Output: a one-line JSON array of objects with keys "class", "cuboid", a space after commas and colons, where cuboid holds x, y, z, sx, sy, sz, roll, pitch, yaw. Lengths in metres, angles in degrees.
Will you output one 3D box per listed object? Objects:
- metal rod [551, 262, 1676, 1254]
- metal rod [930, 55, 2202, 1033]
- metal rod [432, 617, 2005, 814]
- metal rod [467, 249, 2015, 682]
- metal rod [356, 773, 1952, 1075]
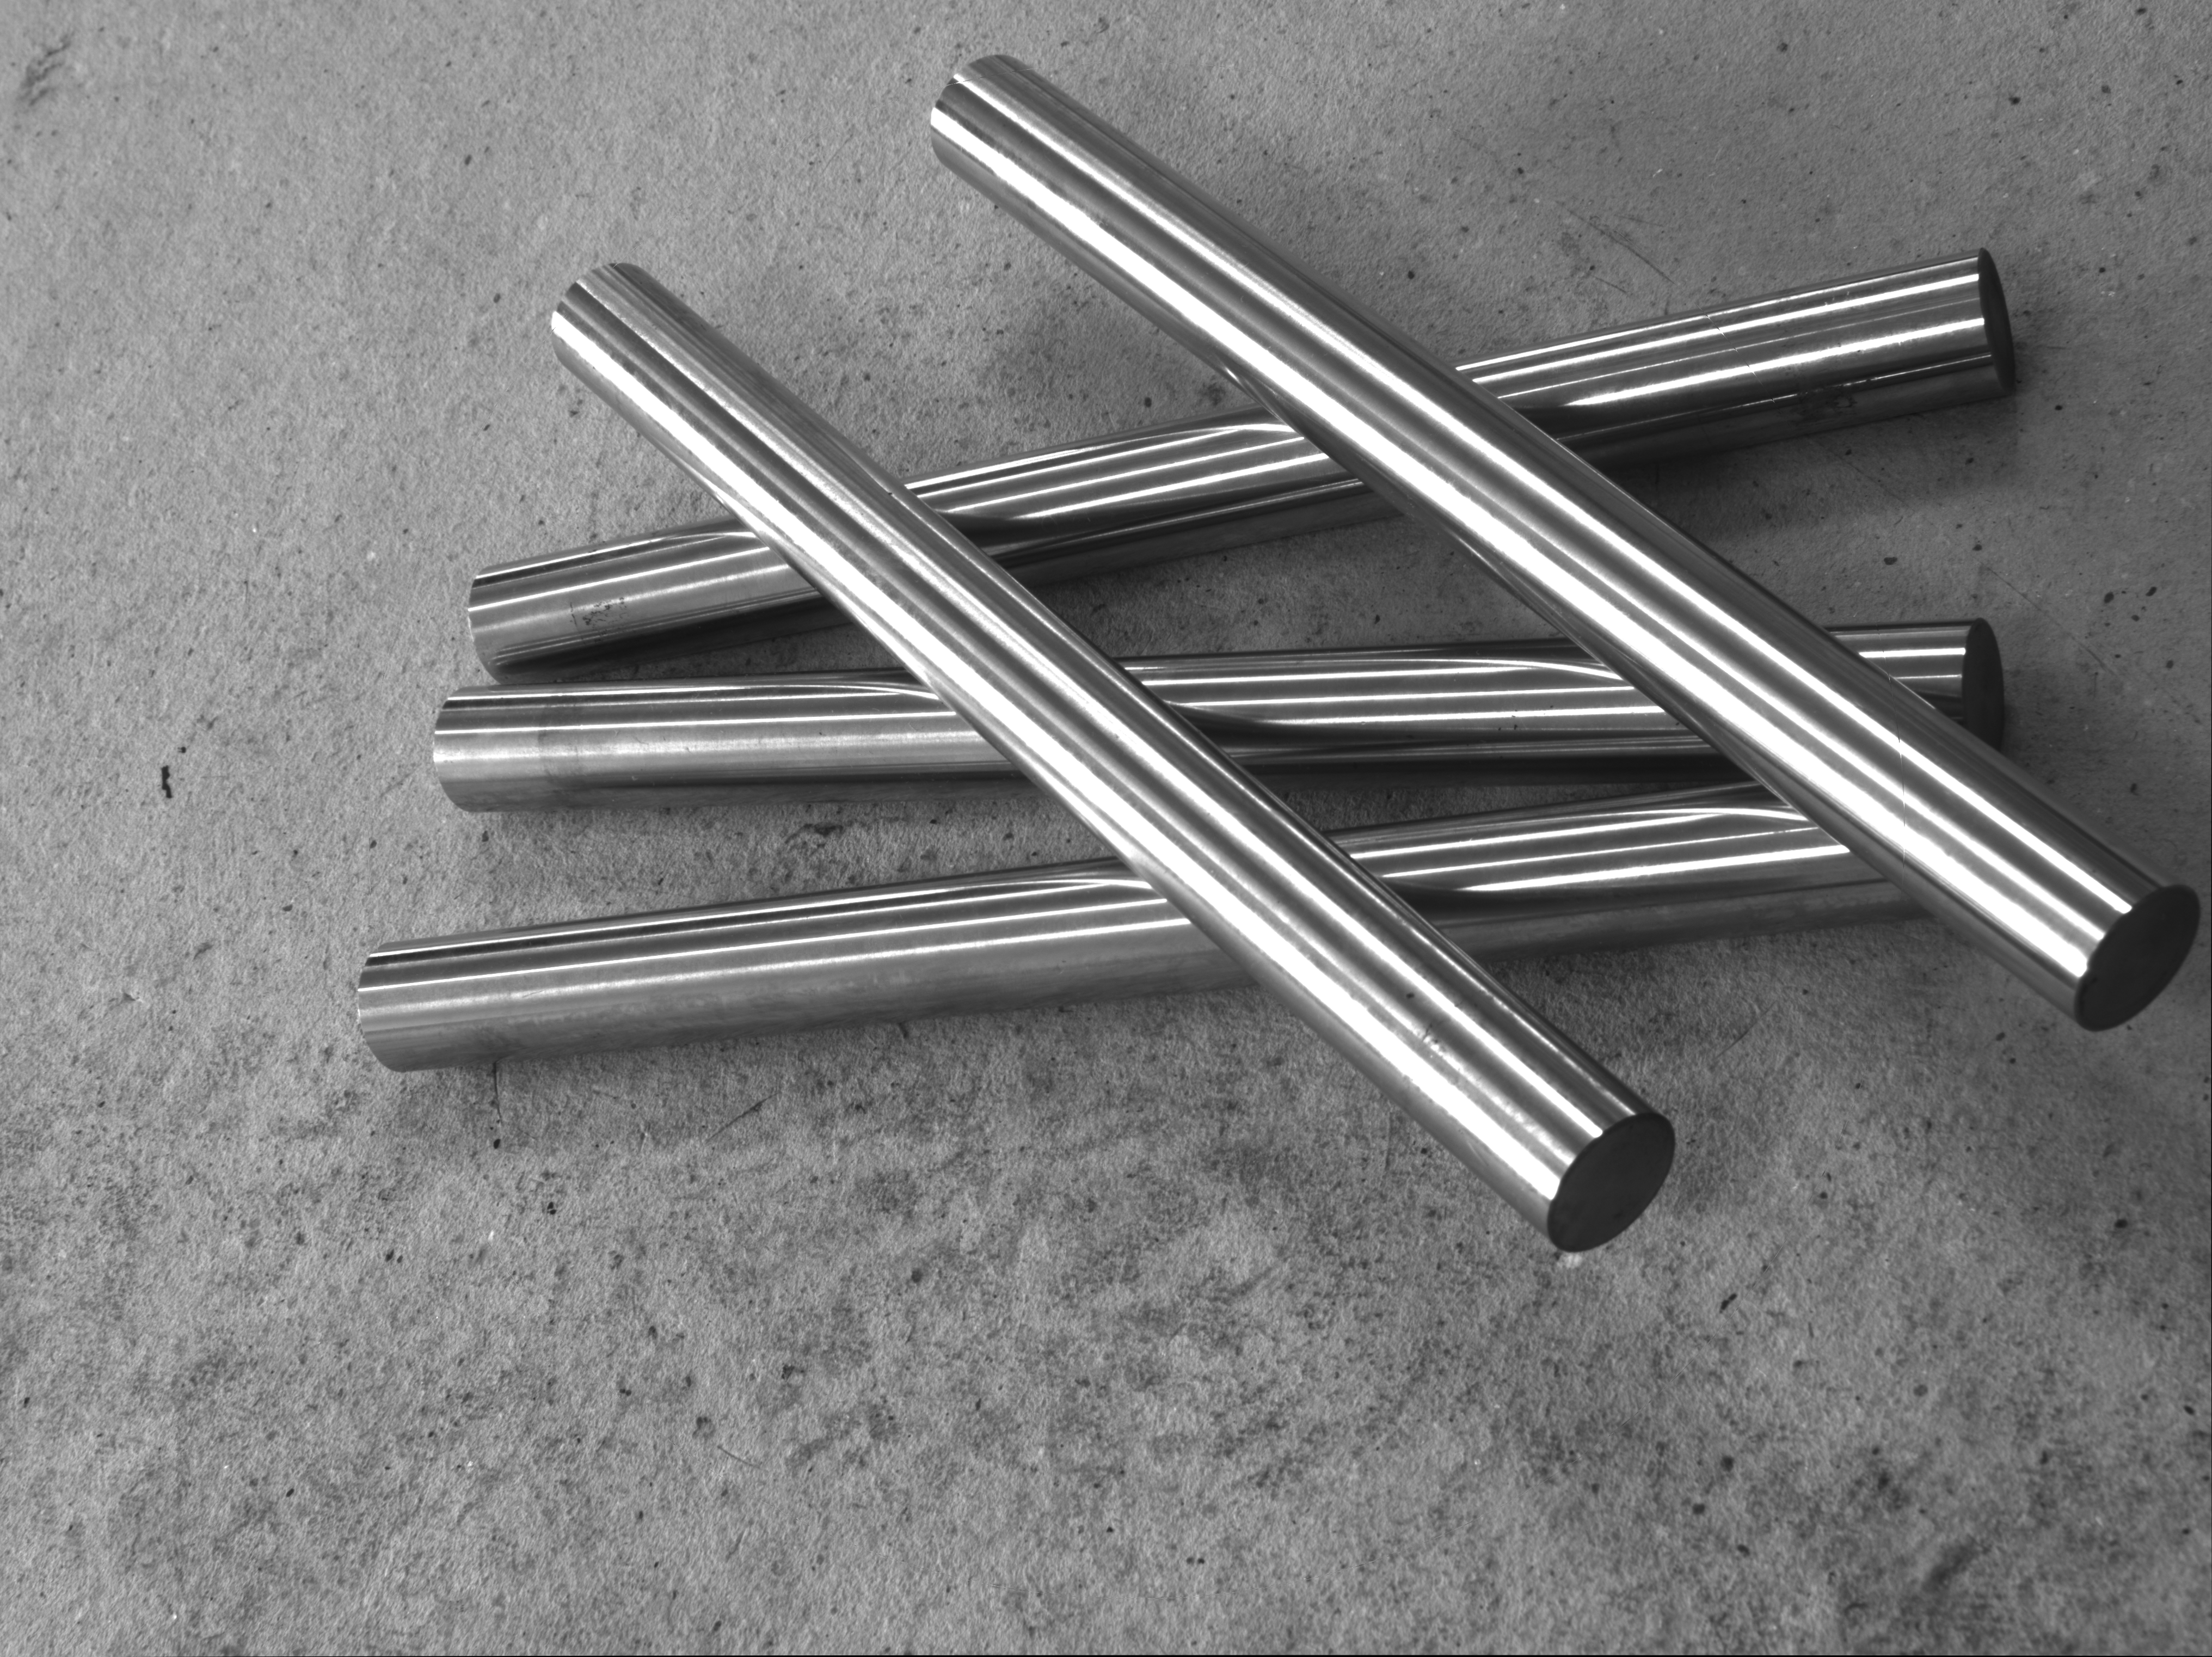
[{"class": "metal rod", "cuboid": [-0.012, -0.024, 0.634, 0.025, 0.025, 0.299, -46, 51, -4]}, {"class": "metal rod", "cuboid": [0.062, -0.060, 0.616, 0.025, 0.025, 0.299, -45, 51, -3]}, {"class": "metal rod", "cuboid": [0.007, -0.018, 0.652, 0.299, 0.025, 0.025, -1, 61, 28]}, {"class": "metal rod", "cuboid": [0.015, -0.063, 0.676, 0.299, 0.025, 0.025, -9, 57, 23]}, {"class": "metal rod", "cuboid": [0.000, 0.017, 0.634, 0.299, 0.025, 0.025, -7, 58, 25]}]
